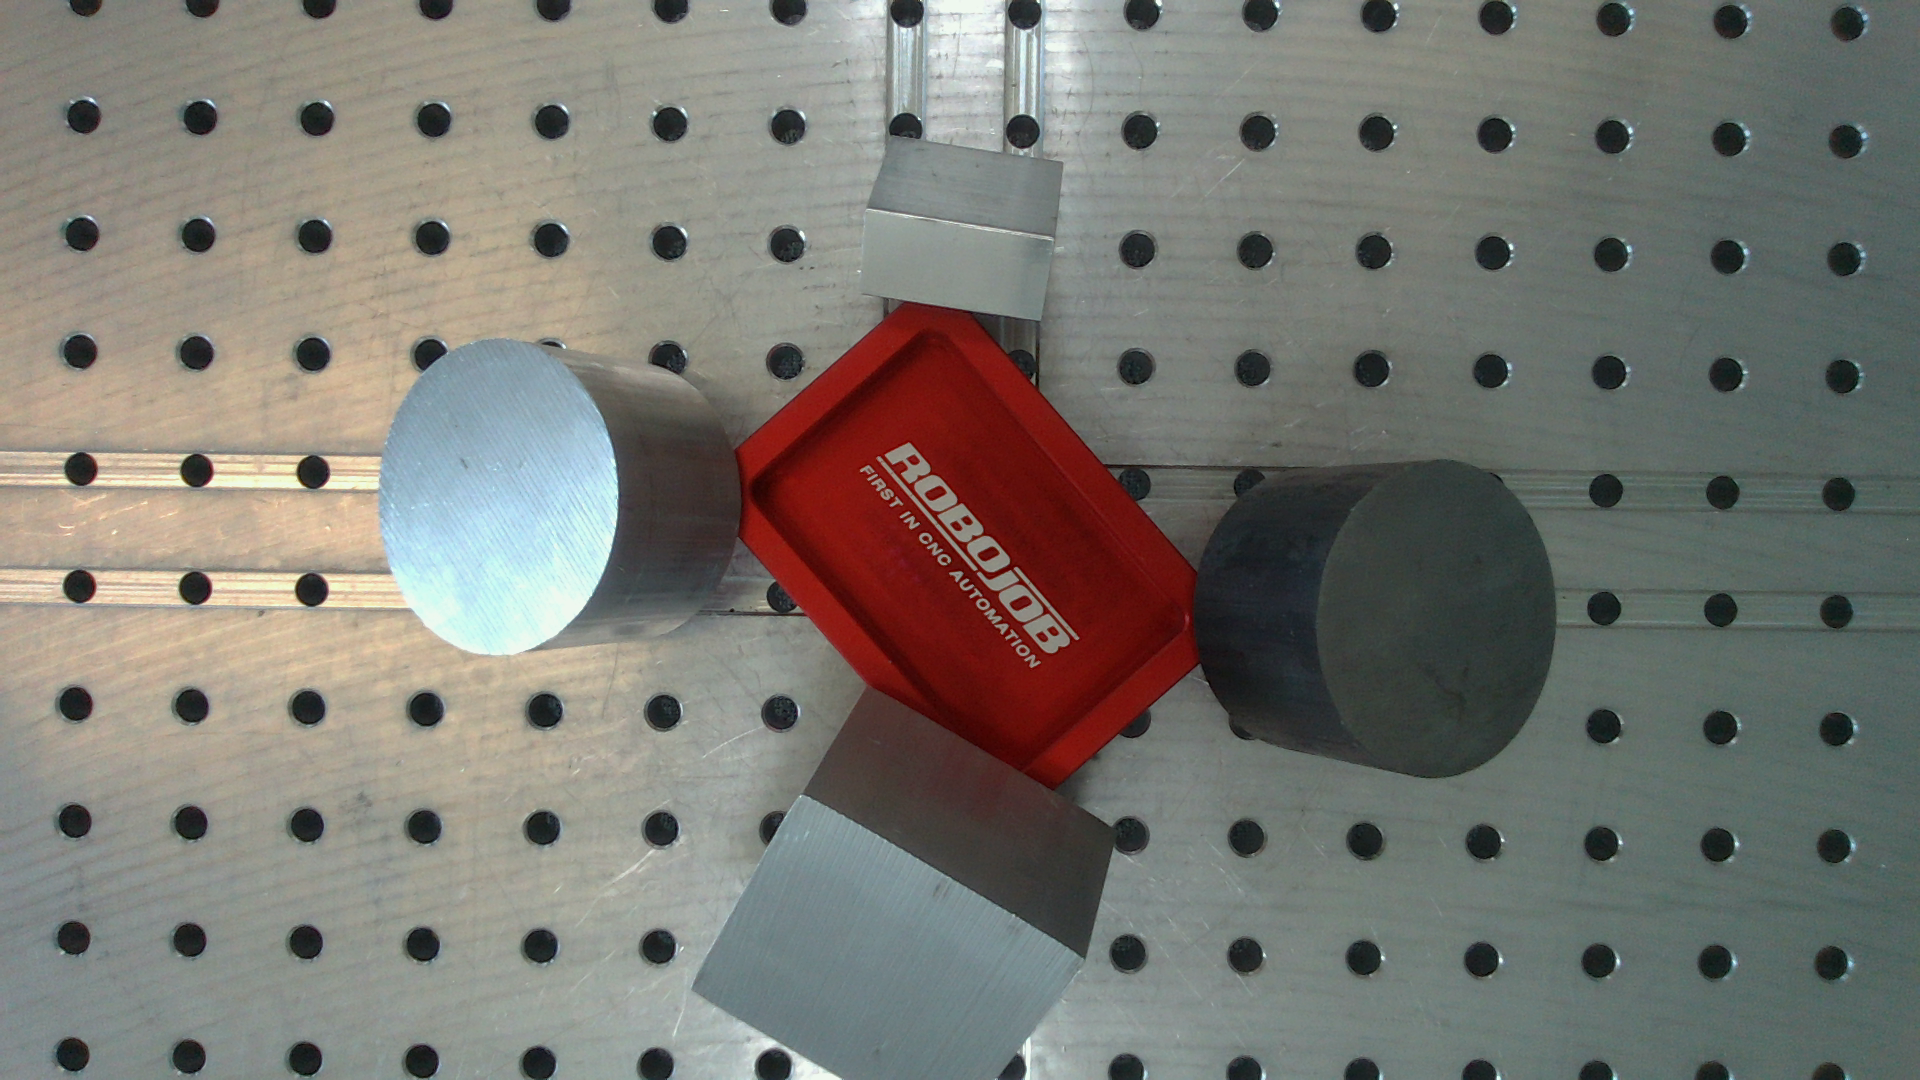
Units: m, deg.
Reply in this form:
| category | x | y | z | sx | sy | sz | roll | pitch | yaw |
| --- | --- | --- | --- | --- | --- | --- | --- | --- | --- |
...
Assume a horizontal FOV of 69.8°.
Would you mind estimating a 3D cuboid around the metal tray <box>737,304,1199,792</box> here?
| category | x | y | z | sx | sy | sz | roll | pitch | yaw |
| --- | --- | --- | --- | --- | --- | --- | --- | --- | --- |
| metal tray | 0.003 | 0.004 | 0.394 | 0.090 | 0.030 | 0.130 | -41 | 90 | 0 |

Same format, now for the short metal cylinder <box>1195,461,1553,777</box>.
| category | x | y | z | sx | sy | sz | roll | pitch | yaw |
| --- | --- | --- | --- | --- | --- | --- | --- | --- | --- |
| short metal cylinder | 0.111 | 0.020 | 0.370 | 0.080 | 0.050 | 0.080 | 0 | 91 | -26 |

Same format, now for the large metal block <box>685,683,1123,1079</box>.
| category | x | y | z | sx | sy | sz | roll | pitch | yaw |
| --- | --- | --- | --- | --- | --- | --- | --- | --- | --- |
| large metal block | -0.015 | 0.099 | 0.368 | 0.080 | 0.050 | 0.080 | 31 | 121 | 0 |

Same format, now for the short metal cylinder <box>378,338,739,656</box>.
| category | x | y | z | sx | sy | sz | roll | pitch | yaw |
| --- | --- | --- | --- | --- | --- | --- | --- | --- | --- |
| short metal cylinder | -0.107 | -0.011 | 0.370 | 0.080 | 0.050 | 0.080 | 0 | 91 | 26 |

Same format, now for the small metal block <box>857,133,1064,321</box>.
| category | x | y | z | sx | sy | sz | roll | pitch | yaw |
| --- | --- | --- | --- | --- | --- | --- | --- | --- | --- |
| small metal block | 0.001 | -0.088 | 0.382 | 0.050 | 0.050 | 0.025 | 9 | 128 | 0 |
